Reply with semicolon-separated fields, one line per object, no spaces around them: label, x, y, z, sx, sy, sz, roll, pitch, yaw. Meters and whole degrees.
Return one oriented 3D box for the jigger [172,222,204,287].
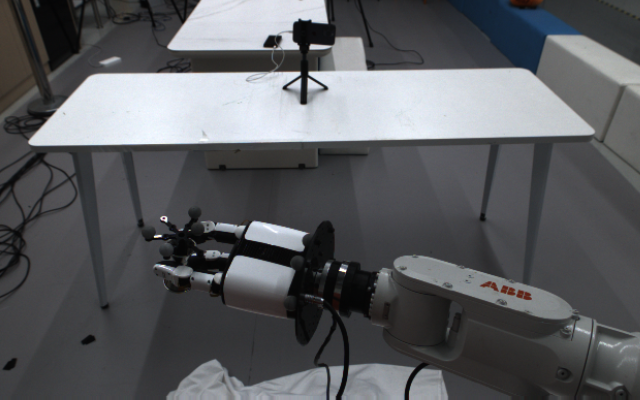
jigger;-0.188;0.086;0.656;0.043;0.071;0.043;10;36;-7
